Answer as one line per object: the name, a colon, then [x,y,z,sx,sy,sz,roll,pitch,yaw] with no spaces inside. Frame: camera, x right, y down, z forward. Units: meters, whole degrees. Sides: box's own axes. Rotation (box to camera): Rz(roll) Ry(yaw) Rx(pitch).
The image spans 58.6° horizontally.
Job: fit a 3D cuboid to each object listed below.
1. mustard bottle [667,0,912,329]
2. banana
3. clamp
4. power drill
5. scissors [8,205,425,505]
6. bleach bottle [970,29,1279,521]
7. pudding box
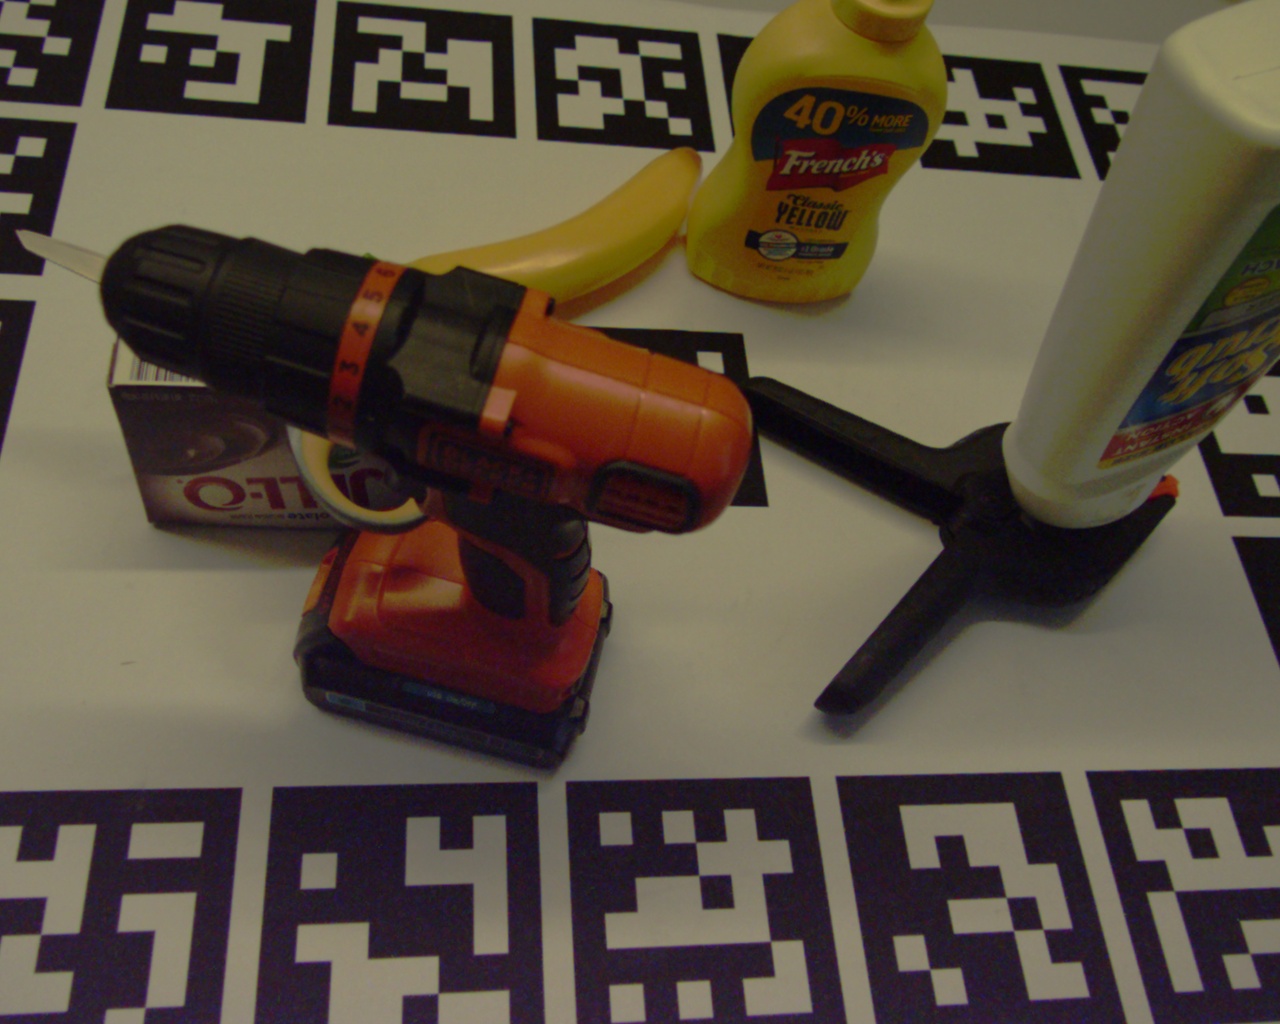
mustard bottle: [0.079,-0.172,0.563,0.096,0.192,0.058,14,59,-4]
banana: [-0.039,-0.155,0.608,0.196,0.038,0.075,-37,56,-26]
clamp: [0.152,-0.006,0.549,0.201,0.037,0.166,-4,64,-14]
power drill: [-0.079,0.003,0.398,0.184,0.187,0.057,12,52,-1]
scissors: [-0.154,-0.073,0.442,0.202,0.016,0.087,25,63,-1]
bleach bottle: [0.204,-0.069,0.473,0.102,0.250,0.068,-18,62,-13]
pudding box: [-0.156,-0.035,0.495,0.113,0.090,0.039,5,53,-8]
